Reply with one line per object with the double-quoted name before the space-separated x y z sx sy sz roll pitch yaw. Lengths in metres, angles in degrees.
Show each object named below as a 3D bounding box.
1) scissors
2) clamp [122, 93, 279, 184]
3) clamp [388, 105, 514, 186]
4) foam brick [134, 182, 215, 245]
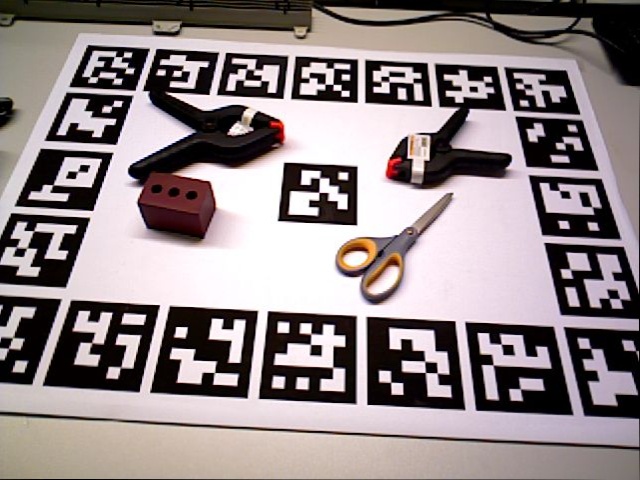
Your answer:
"scissors" 0.101 0.001 0.666 0.087 0.016 0.199 40 63 13
"clamp" -0.157 -0.142 0.742 0.201 0.037 0.163 -1 55 -3
"clamp" 0.167 -0.119 0.740 0.163 0.037 0.121 -22 68 -14
"foam brick" -0.177 -0.032 0.665 0.078 0.052 0.052 7 58 8
